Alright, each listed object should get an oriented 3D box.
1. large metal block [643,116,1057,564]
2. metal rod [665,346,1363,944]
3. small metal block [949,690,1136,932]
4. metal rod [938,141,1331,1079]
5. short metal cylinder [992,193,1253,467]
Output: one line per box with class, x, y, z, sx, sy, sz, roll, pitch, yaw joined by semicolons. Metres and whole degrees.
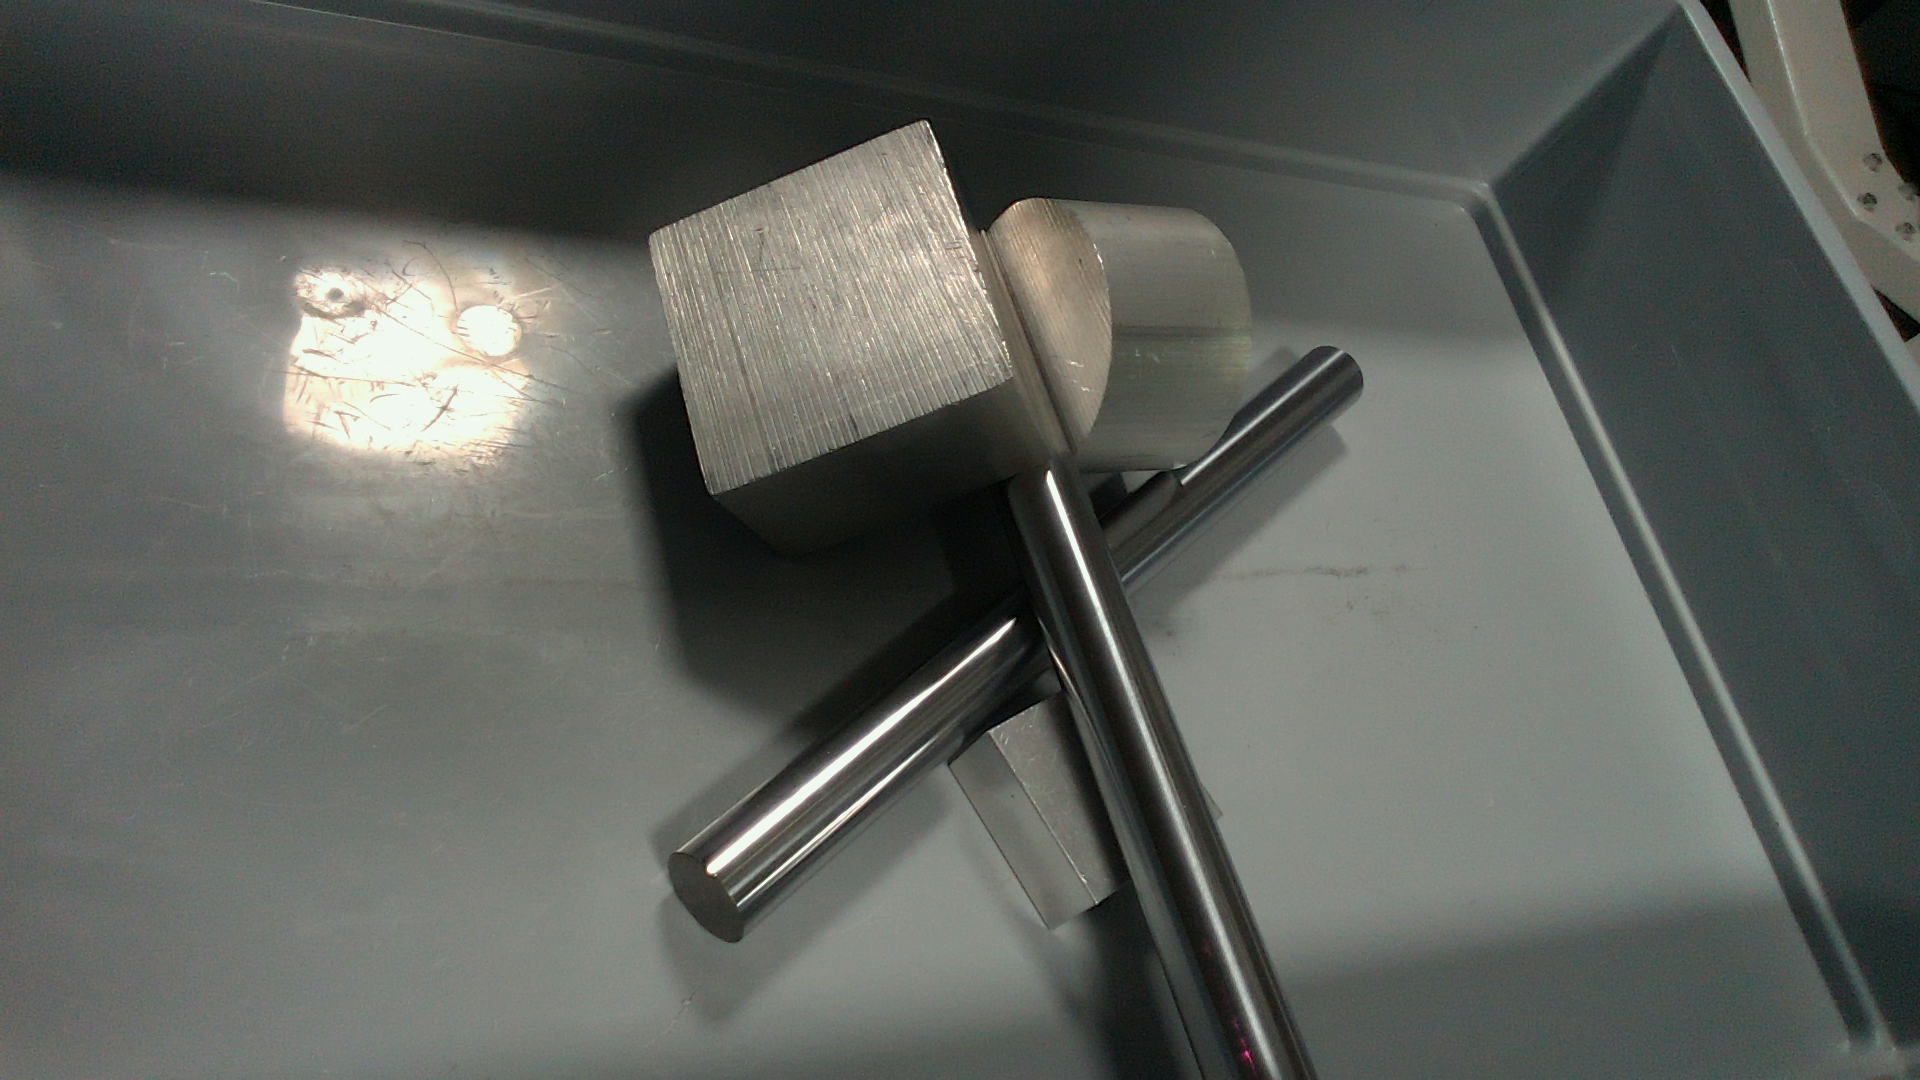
large metal block;-0.029;-0.051;0.363;0.080;0.050;0.080;-21;67;7
metal rod;0.038;0.011;0.401;0.025;0.025;0.301;49;51;6
small metal block;0.033;0.067;0.365;0.050;0.025;0.050;-23;74;-36
metal rod;0.034;0.017;0.363;0.025;0.025;0.300;-5;63;-30
short metal cylinder;0.041;-0.061;0.411;0.050;0.080;0.080;-4;63;-31
